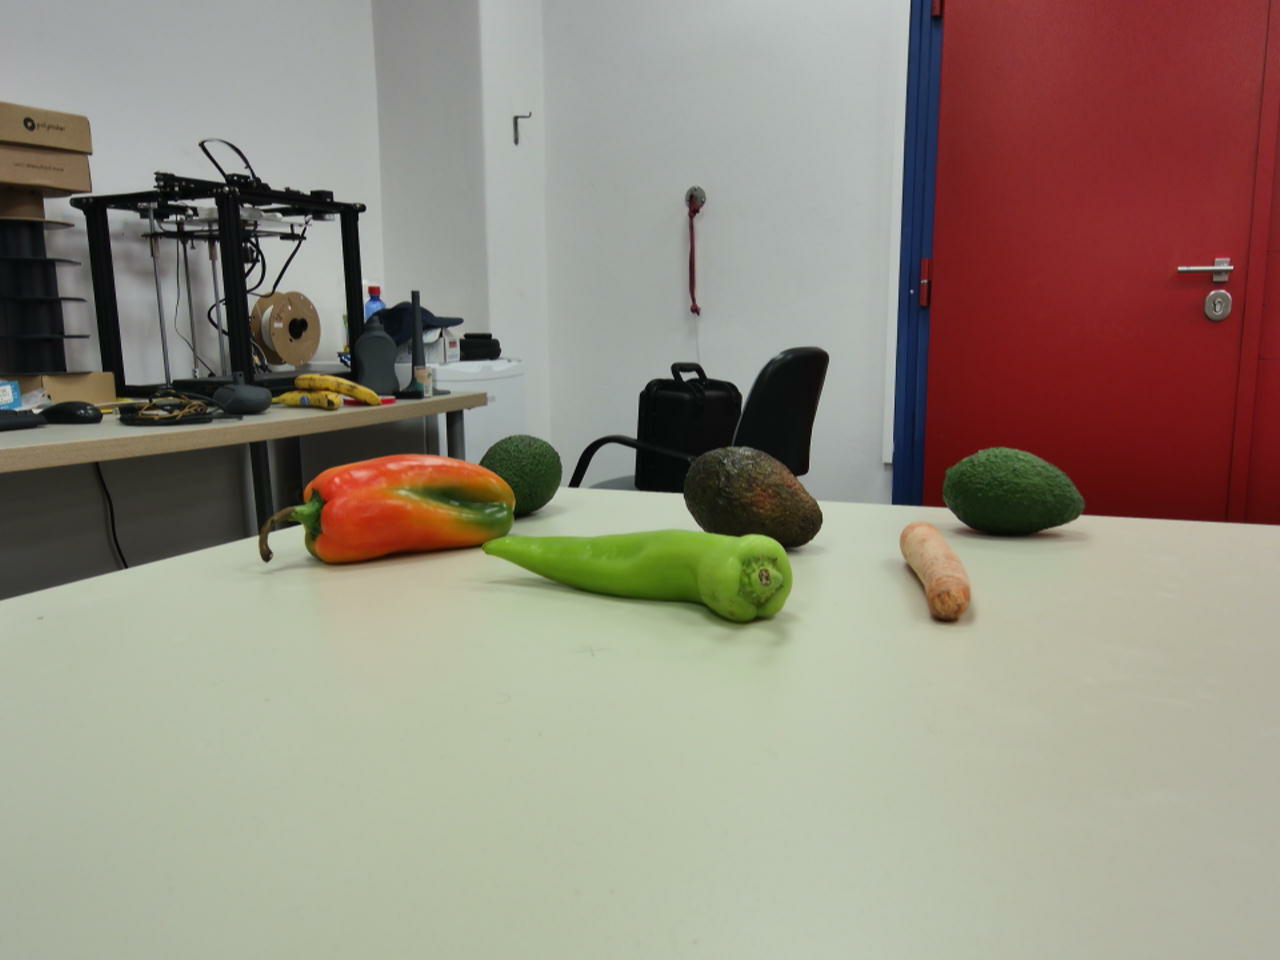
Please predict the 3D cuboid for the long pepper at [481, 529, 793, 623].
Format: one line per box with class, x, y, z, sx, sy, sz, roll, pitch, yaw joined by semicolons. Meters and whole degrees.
long pepper;0.003;0.046;0.560;0.205;0.045;0.065;5;8;40
